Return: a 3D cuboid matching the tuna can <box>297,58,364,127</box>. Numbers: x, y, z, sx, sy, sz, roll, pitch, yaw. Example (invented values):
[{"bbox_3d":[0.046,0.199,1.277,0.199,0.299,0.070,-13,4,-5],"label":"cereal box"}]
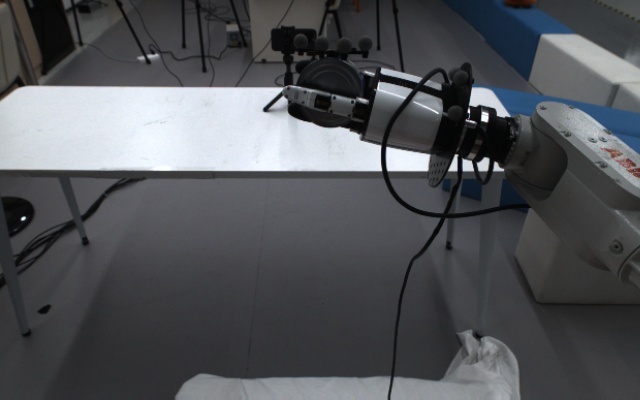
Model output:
[{"bbox_3d":[0.015,-0.138,0.609,0.085,0.085,0.034,9,23,10],"label":"tuna can"}]
